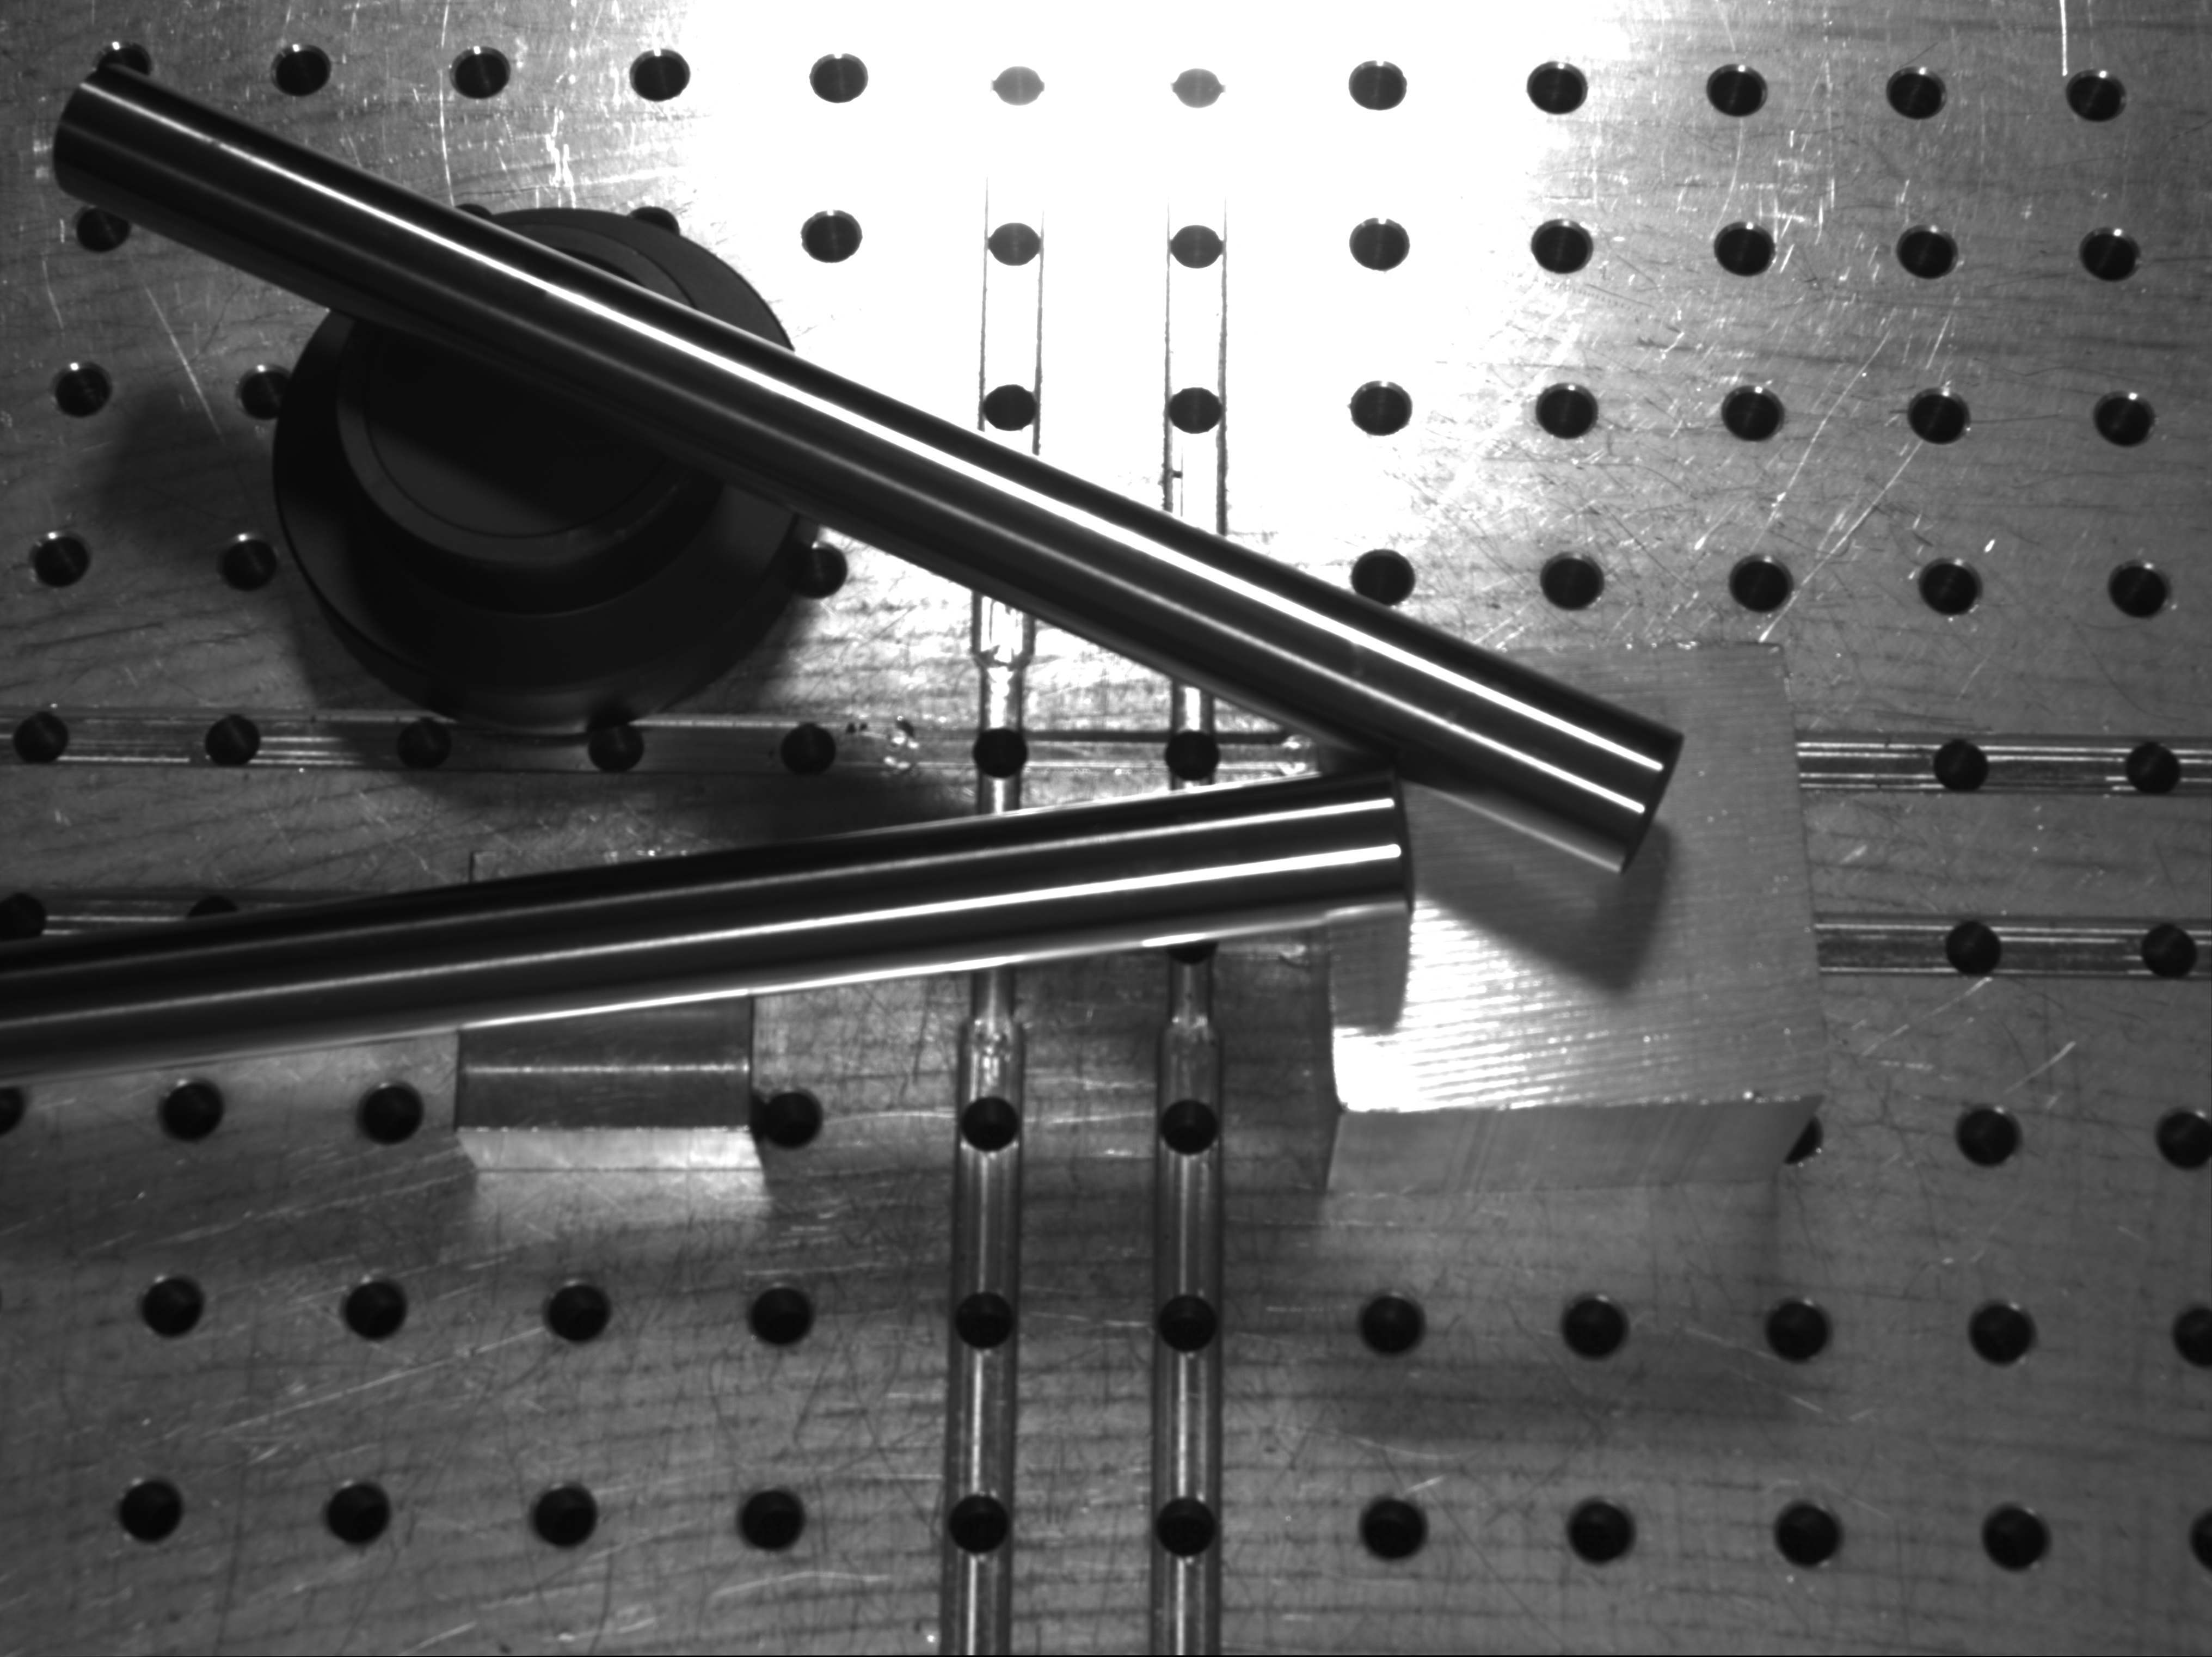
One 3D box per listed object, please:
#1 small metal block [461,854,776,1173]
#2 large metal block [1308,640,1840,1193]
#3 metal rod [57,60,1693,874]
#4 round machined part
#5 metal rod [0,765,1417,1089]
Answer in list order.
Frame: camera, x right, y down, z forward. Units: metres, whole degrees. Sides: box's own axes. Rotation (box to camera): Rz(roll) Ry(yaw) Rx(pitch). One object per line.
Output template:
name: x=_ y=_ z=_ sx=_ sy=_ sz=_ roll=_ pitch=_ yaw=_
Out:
small metal block: x=-0.084 y=0.032 z=0.636 sx=0.050 sy=0.025 sz=0.050 roll=0 pitch=70 yaw=0
large metal block: x=0.077 y=0.016 z=0.625 sx=0.080 sy=0.050 sz=0.080 roll=-2 pitch=70 yaw=-1
metal rod: x=-0.044 y=-0.064 z=0.620 sx=0.300 sy=0.025 sz=0.025 roll=24 pitch=72 yaw=11
round machined part: x=-0.101 y=-0.070 z=0.663 sx=0.098 sy=0.042 sz=0.098 roll=0 pitch=70 yaw=0
metal rod: x=-0.099 y=0.021 z=0.610 sx=0.300 sy=0.025 sz=0.025 roll=-7 pitch=70 yaw=8
